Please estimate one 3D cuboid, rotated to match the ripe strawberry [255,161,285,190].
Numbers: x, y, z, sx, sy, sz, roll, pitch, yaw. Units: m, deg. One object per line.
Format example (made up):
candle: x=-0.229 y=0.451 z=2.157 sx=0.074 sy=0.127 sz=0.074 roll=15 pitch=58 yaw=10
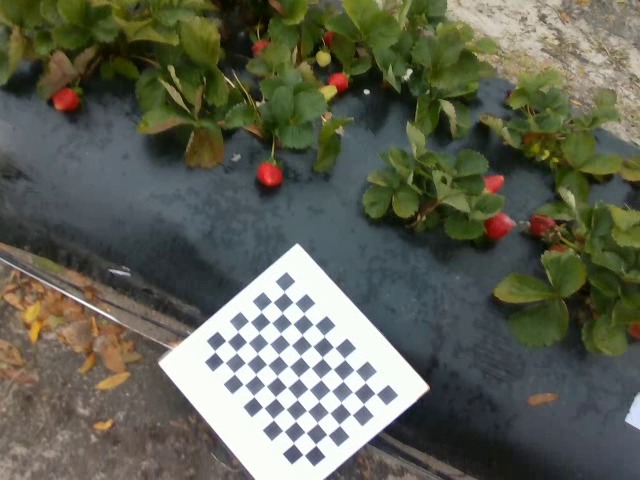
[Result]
ripe strawberry: x=-0.094 y=-0.116 z=1.155 sx=0.045 sy=0.048 sz=0.053 roll=-5 pitch=34 yaw=8
